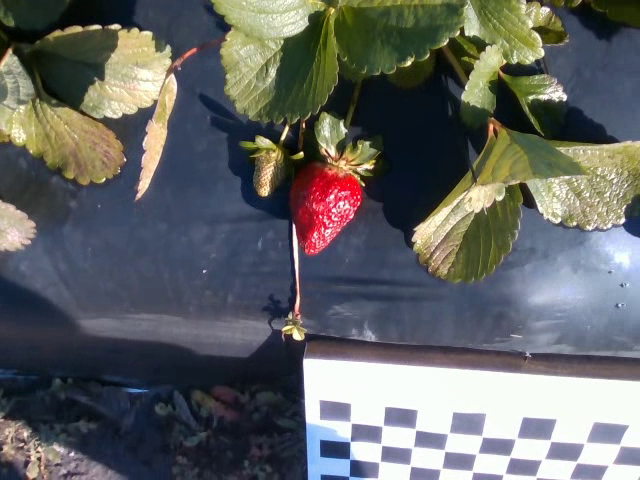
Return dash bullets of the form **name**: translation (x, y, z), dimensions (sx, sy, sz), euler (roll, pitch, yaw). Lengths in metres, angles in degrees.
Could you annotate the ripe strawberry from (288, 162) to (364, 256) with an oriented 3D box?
- **ripe strawberry**: translation (0.002, -0.016, 0.327), dimensions (0.041, 0.053, 0.043), euler (9, -4, -3)
